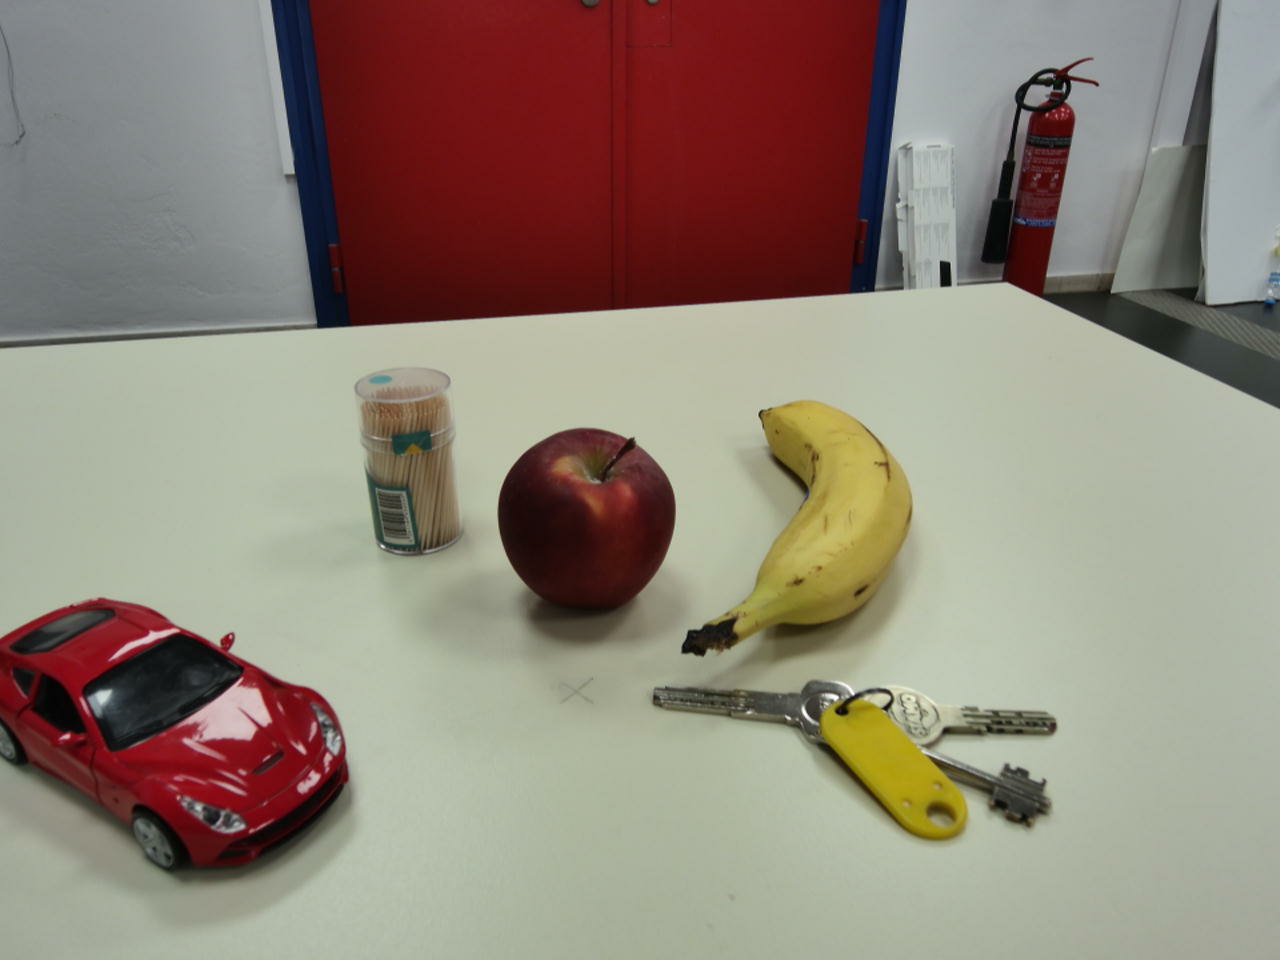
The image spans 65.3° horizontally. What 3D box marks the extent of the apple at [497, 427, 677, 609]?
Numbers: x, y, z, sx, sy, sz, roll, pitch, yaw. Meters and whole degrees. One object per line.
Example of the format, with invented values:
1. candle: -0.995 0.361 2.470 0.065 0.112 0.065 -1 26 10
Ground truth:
1. apple: -0.020 0.016 0.391 0.070 0.072 0.070 0 24 0
